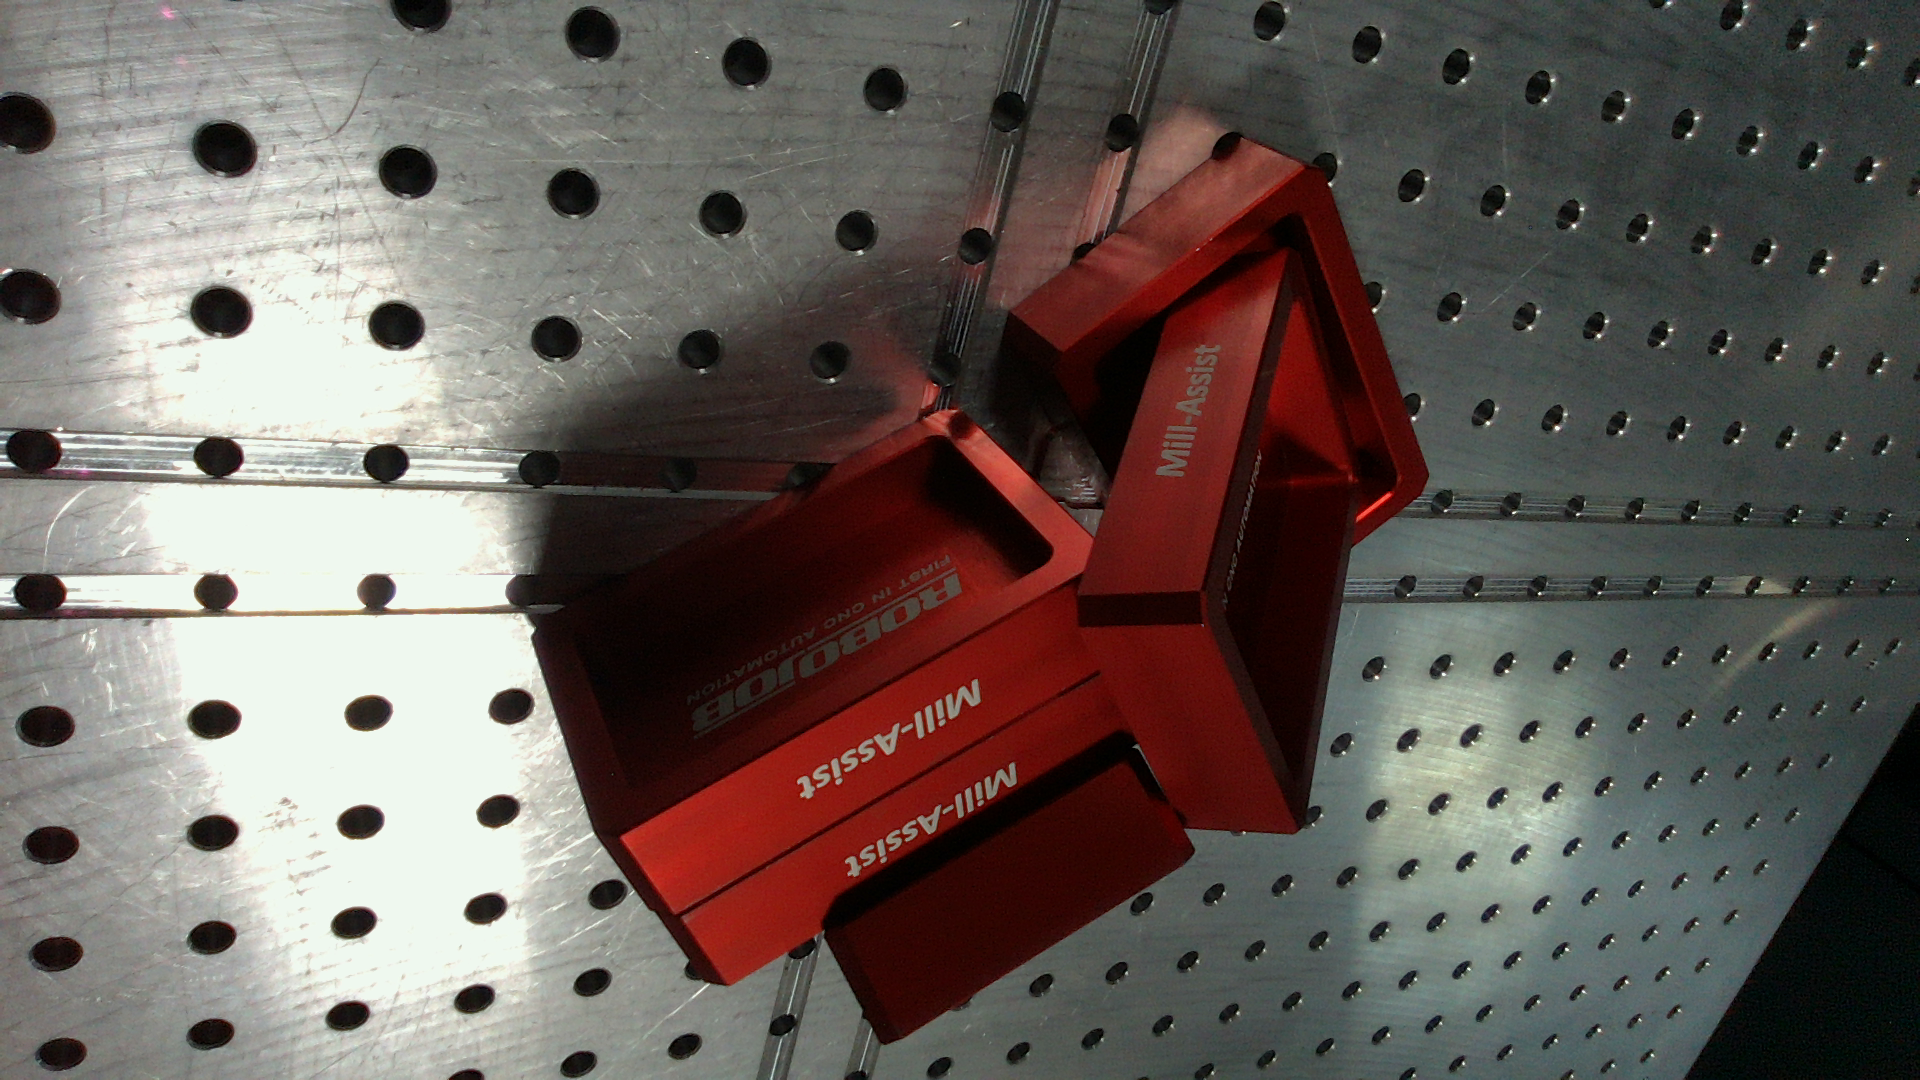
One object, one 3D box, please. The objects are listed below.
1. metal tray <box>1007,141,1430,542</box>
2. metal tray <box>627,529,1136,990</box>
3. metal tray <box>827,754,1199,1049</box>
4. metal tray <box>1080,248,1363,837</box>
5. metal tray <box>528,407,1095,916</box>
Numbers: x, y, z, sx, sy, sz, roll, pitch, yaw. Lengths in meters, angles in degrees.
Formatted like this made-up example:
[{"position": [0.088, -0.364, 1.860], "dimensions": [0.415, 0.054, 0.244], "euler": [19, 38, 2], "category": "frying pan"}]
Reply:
[{"position": [0.081, -0.038, 0.408], "dimensions": [0.090, 0.030, 0.130], "euler": [-38, 129, -3], "category": "metal tray"}, {"position": [-0.025, 0.047, 0.363], "dimensions": [0.130, 0.090, 0.030], "euler": [-29, 128, -10], "category": "metal tray"}, {"position": [0.007, 0.096, 0.395], "dimensions": [0.090, 0.130, 0.030], "euler": [-29, 86, -10], "category": "metal tray"}, {"position": [0.074, -0.001, 0.358], "dimensions": [0.090, 0.030, 0.130], "euler": [60, 38, -39], "category": "metal tray"}, {"position": [-0.035, 0.024, 0.345], "dimensions": [0.130, 0.090, 0.030], "euler": [-29, 128, -10], "category": "metal tray"}]
